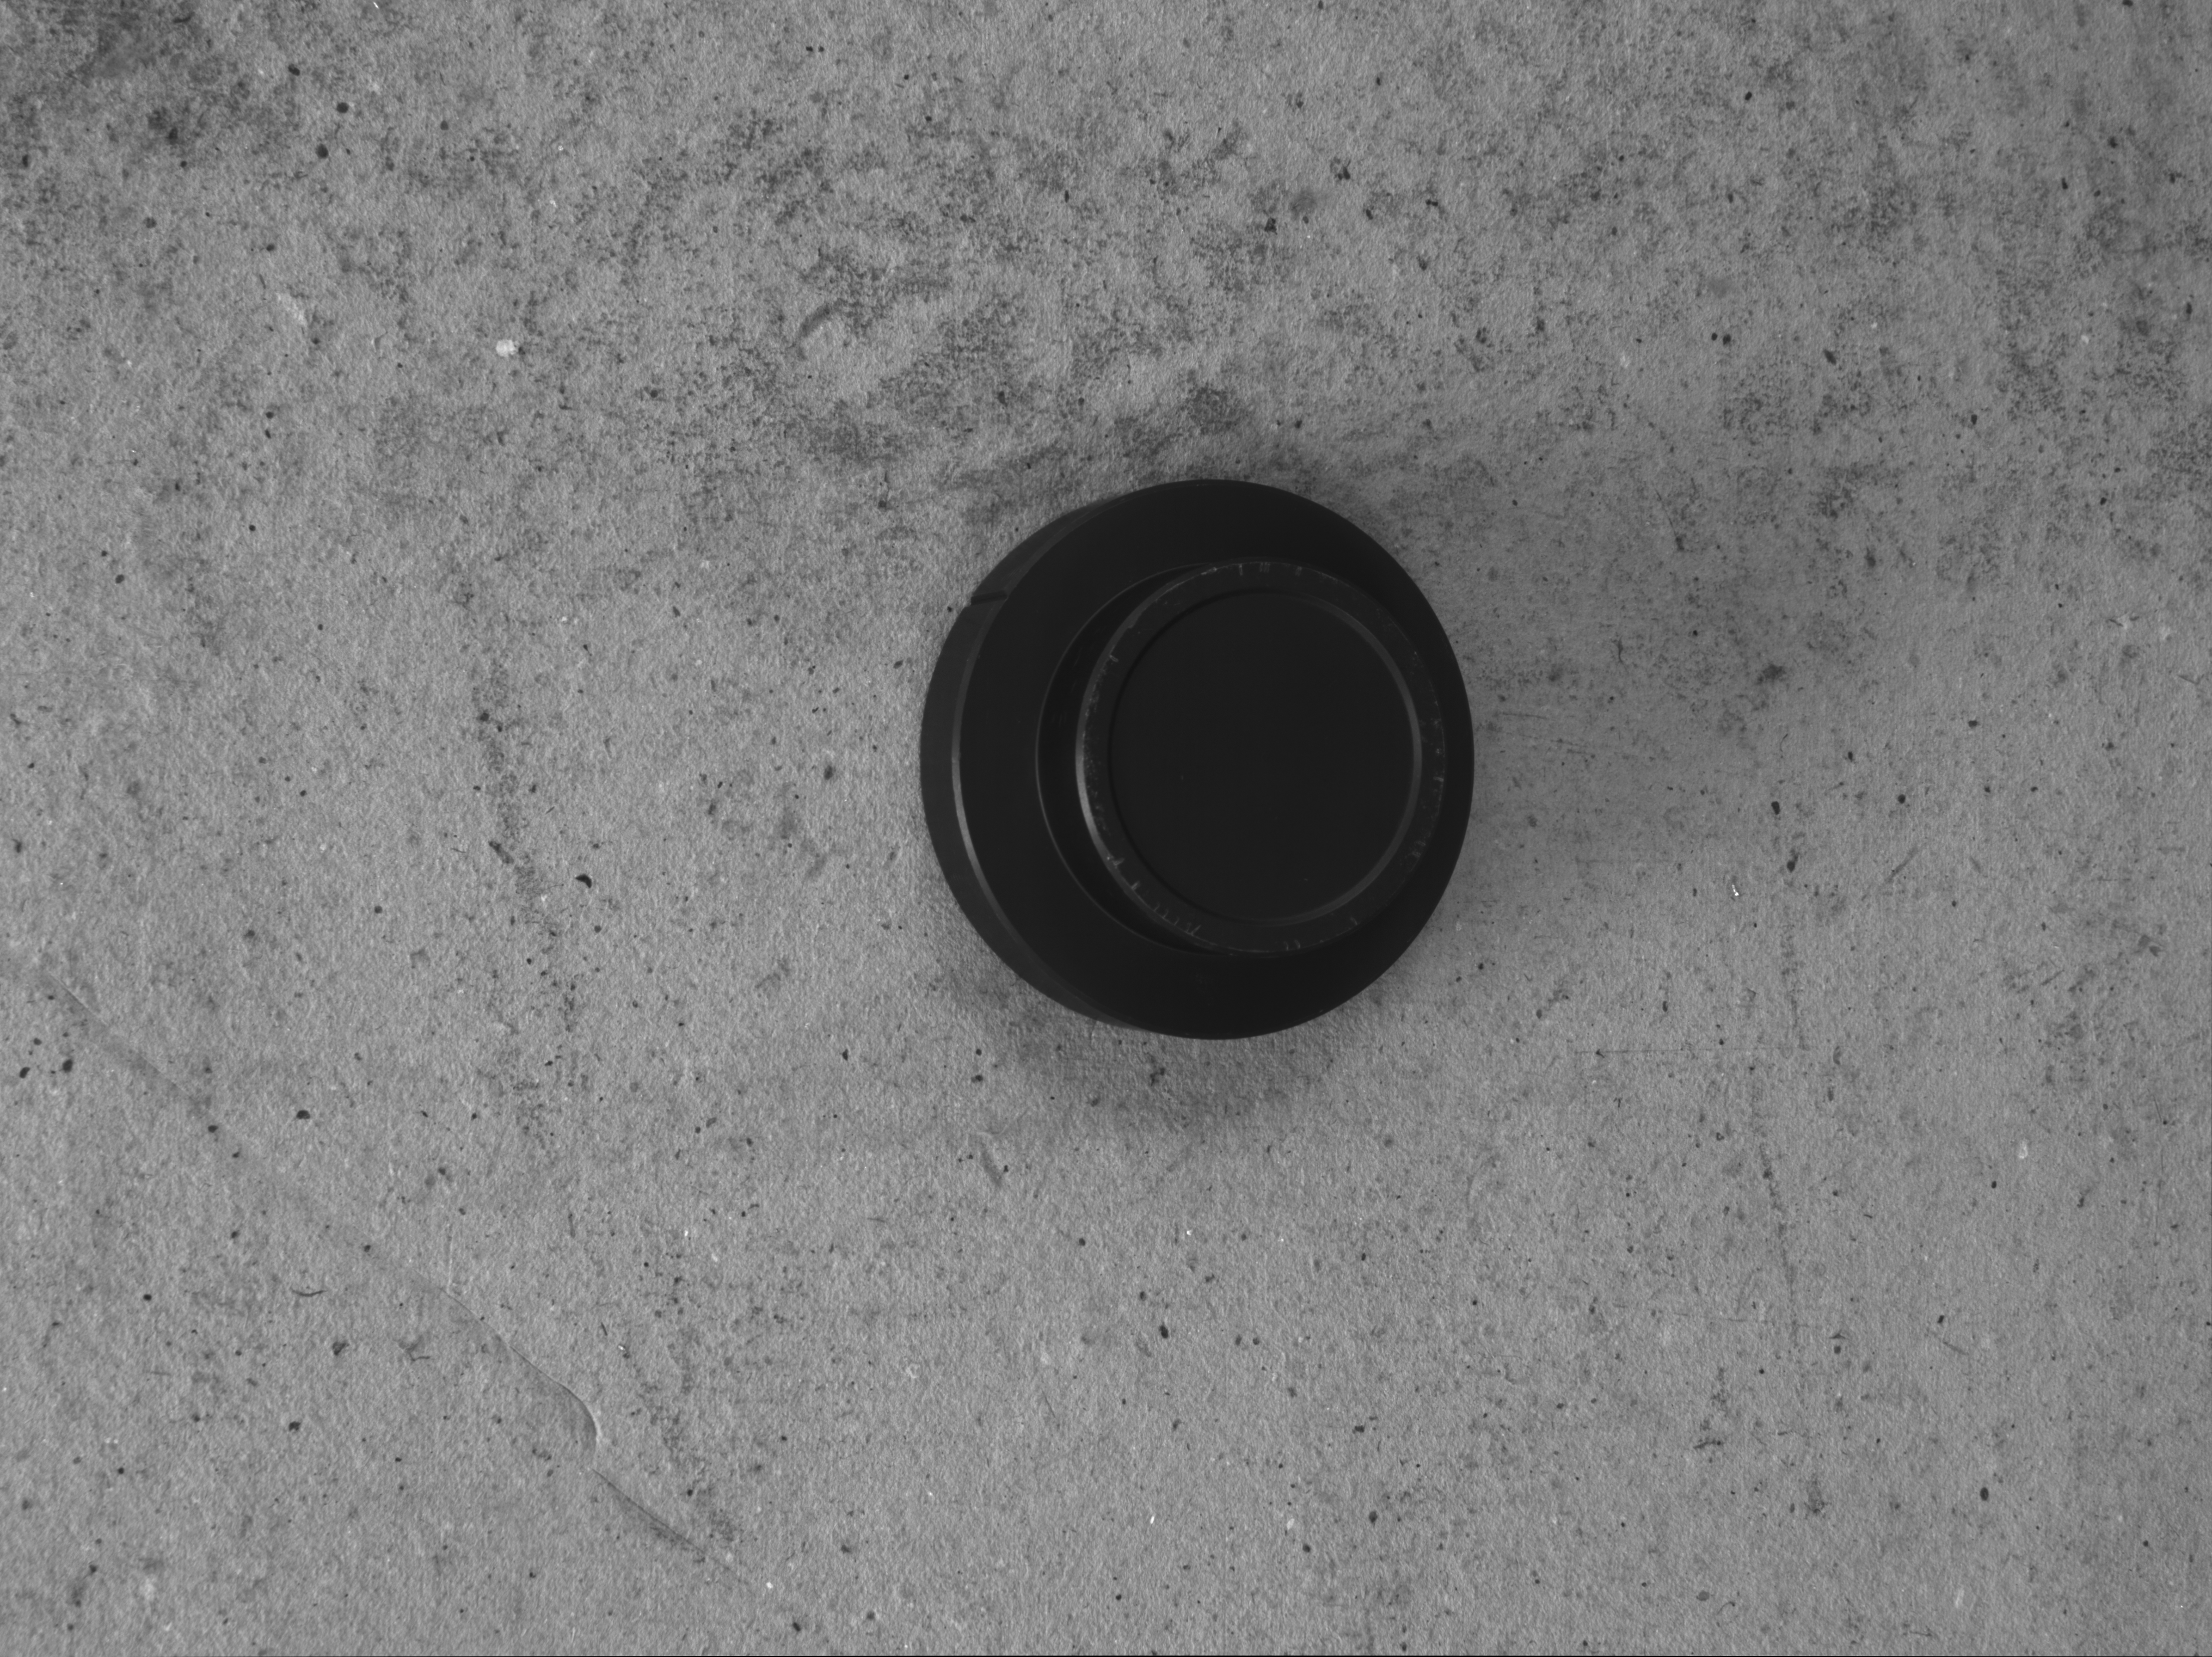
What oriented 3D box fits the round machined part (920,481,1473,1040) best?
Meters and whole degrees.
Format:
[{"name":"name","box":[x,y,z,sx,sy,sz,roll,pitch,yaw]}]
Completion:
[{"name":"round machined part","box":[0.020,-0.012,0.642,0.098,0.042,0.098,0,90,-20]}]
